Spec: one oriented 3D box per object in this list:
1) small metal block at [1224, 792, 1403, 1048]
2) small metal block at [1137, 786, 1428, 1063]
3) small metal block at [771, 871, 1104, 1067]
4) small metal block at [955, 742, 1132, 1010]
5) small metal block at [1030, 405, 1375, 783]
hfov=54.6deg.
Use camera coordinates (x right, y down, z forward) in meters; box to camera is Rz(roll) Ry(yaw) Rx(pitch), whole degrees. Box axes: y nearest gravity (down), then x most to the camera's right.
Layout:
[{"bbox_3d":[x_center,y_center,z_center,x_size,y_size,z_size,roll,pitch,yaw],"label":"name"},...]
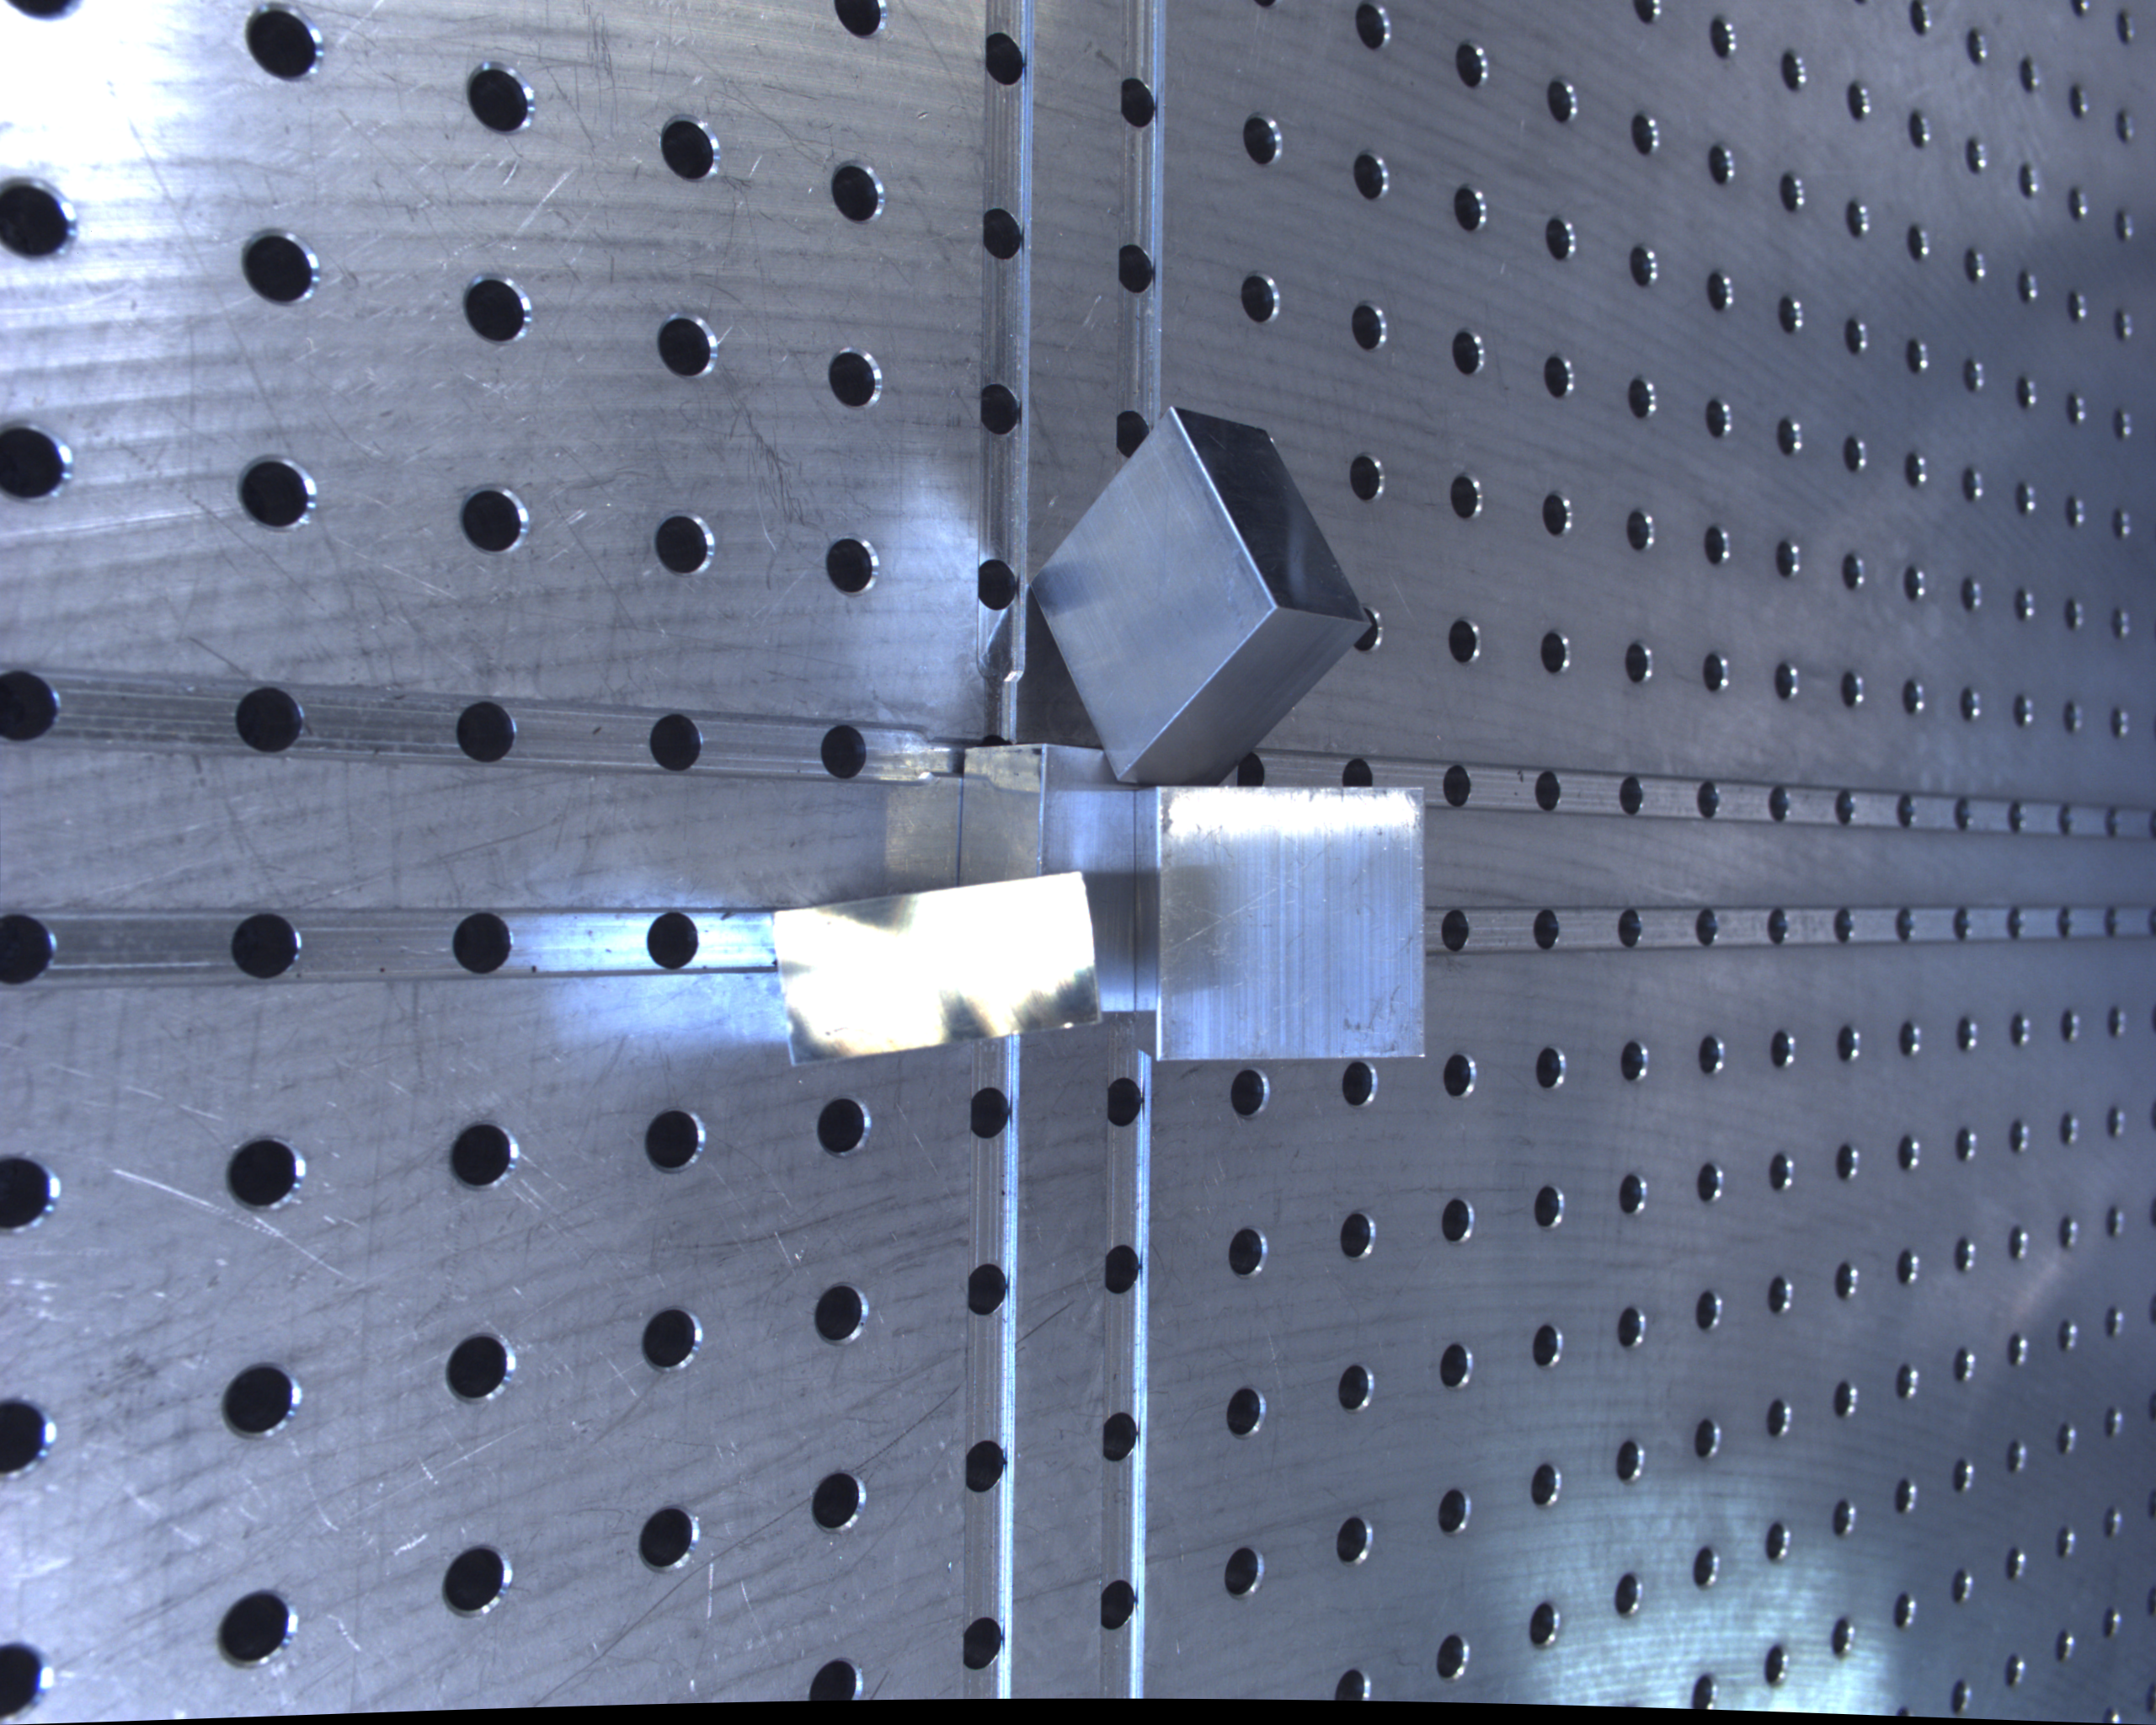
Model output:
[{"bbox_3d":[0.050,0.012,0.436,0.050,0.025,0.050,7,85,-71],"label":"small metal block"},{"bbox_3d":[0.038,0.011,0.392,0.050,0.025,0.050,0,90,-7],"label":"small metal block"},{"bbox_3d":[-0.024,0.017,0.358,0.050,0.050,0.025,-7,89,-5],"label":"small metal block"},{"bbox_3d":[0.004,0.003,0.411,0.050,0.025,0.050,3,88,-40],"label":"small metal block"},{"bbox_3d":[0.022,-0.049,0.397,0.025,0.050,0.050,4,52,-39],"label":"small metal block"}]
